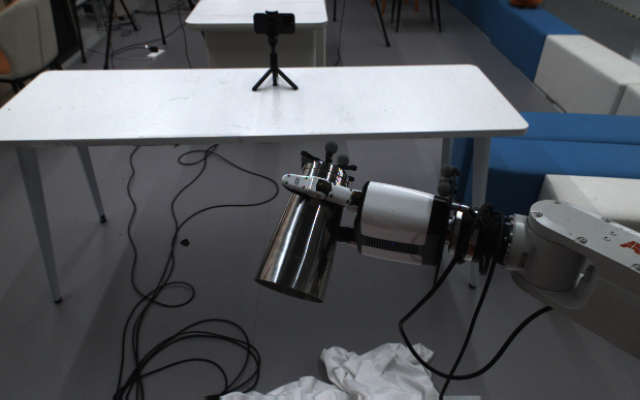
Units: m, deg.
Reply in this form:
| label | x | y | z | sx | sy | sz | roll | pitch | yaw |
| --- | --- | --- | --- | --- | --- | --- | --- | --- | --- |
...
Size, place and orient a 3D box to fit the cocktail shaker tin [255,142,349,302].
| label | x | y | z | sx | sy | sz | roll | pitch | yaw |
| --- | --- | --- | --- | --- | --- | --- | --- | --- | --- |
| cocktail shaker tin | -0.014 | 0.036 | 0.637 | 0.093 | 0.093 | 0.170 | 13 | 71 | 15 |
